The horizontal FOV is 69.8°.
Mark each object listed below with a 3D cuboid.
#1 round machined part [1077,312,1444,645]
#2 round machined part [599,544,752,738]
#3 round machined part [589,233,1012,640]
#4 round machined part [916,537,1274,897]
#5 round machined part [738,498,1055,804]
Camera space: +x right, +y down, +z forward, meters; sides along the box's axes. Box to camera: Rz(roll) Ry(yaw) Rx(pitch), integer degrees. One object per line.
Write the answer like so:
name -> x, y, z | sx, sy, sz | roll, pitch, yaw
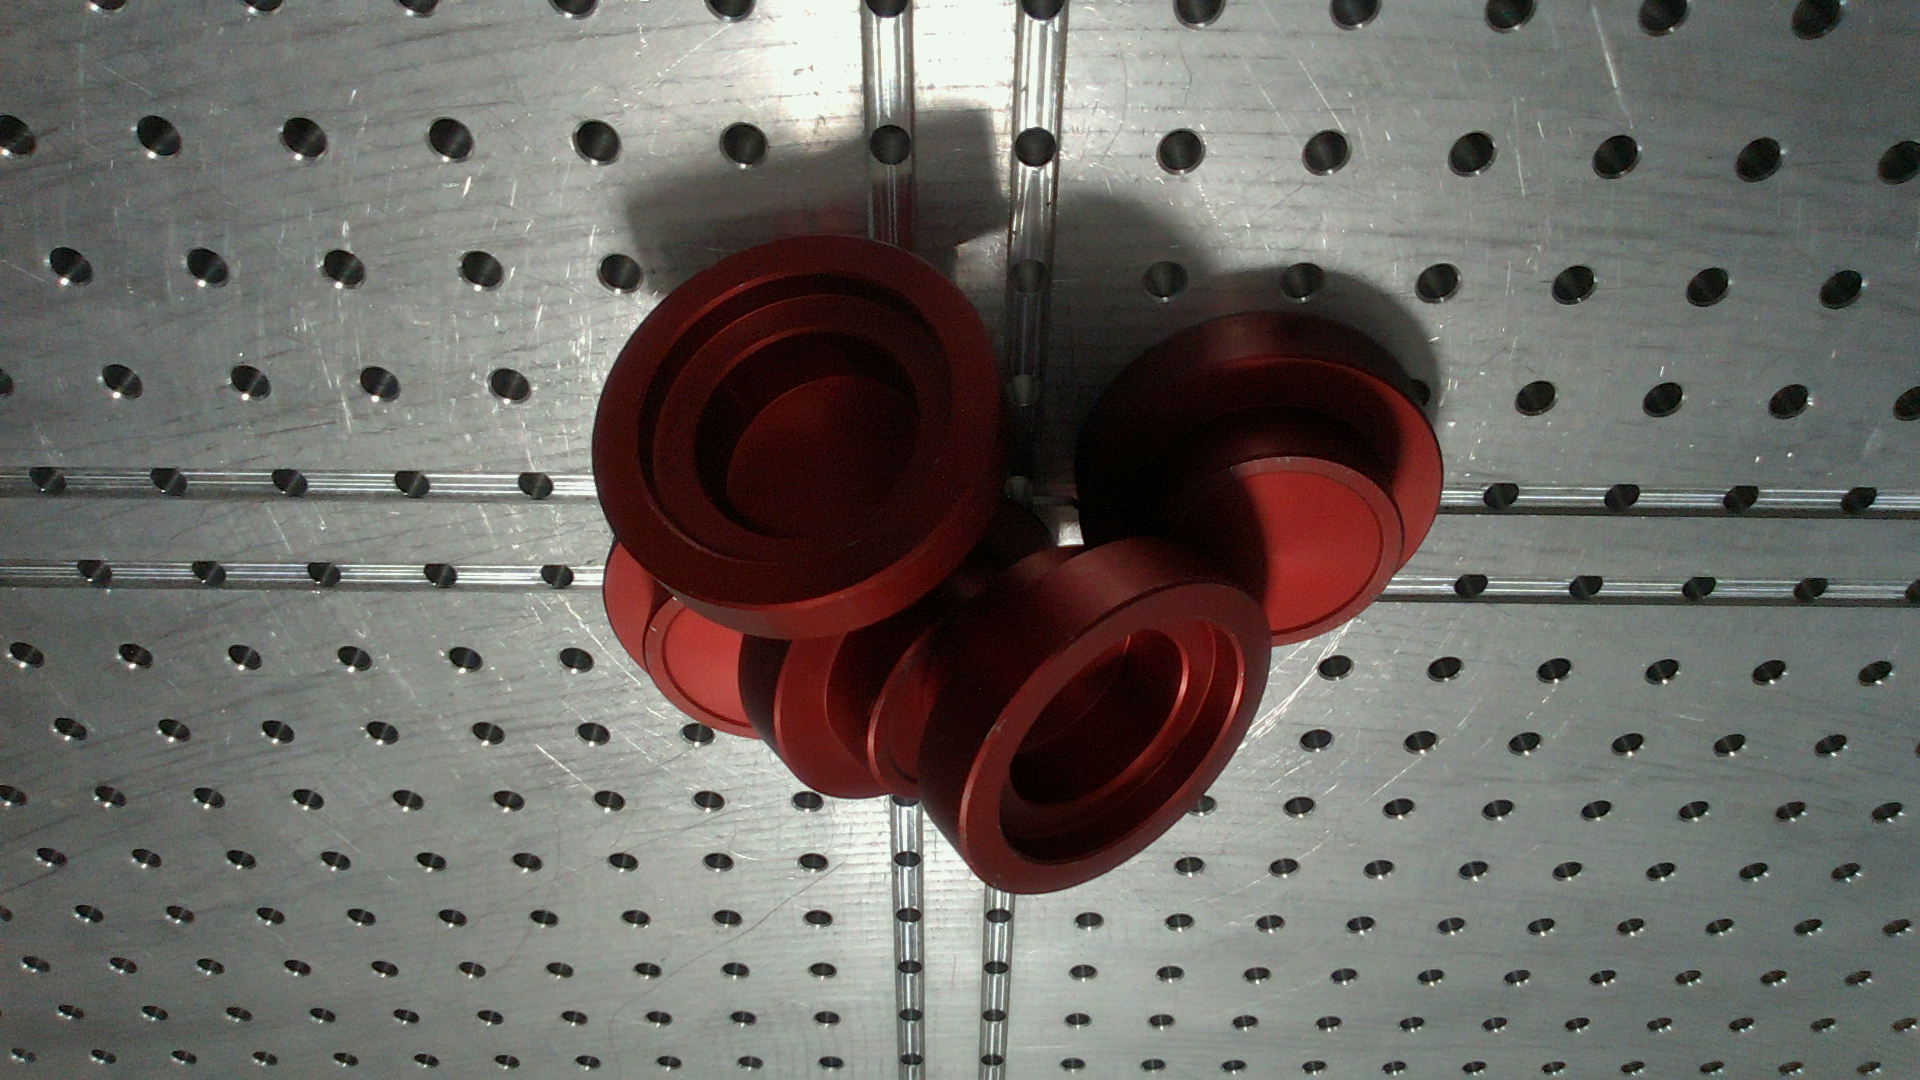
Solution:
round machined part -> 0.082, -0.009, 0.375 | 0.098, 0.042, 0.098 | 0, 130, 0
round machined part -> -0.055, 0.020, 0.399 | 0.098, 0.042, 0.098 | 0, 130, 0
round machined part -> -0.035, -0.022, 0.334 | 0.098, 0.098, 0.042 | -10, 155, 8
round machined part -> 0.030, 0.040, 0.354 | 0.098, 0.042, 0.098 | -22, 134, -25
round machined part -> -0.008, 0.033, 0.379 | 0.098, 0.042, 0.098 | -24, 132, -29
